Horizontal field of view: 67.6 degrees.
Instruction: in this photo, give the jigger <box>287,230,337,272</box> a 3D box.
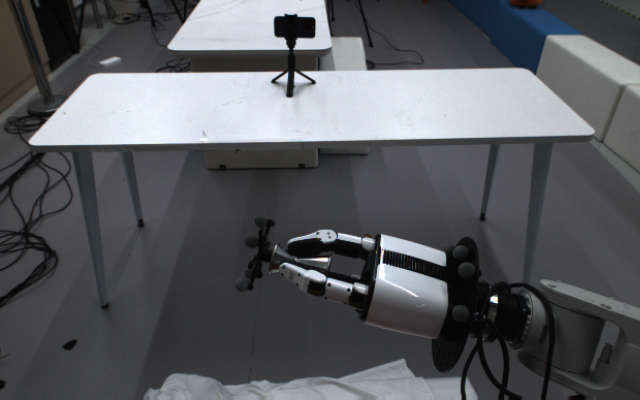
[{"bbox_3d":[-0.016,0.076,0.580,0.071,0.043,0.043,14,36,5],"label":"jigger"}]
